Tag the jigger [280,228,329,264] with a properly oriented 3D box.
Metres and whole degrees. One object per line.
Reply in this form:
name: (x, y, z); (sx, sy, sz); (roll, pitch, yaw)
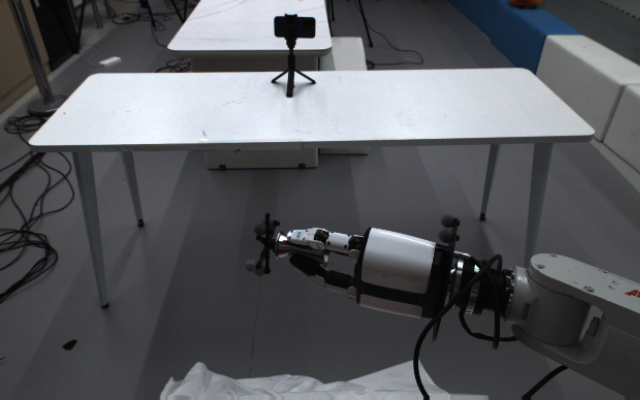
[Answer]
jigger: (-0.016, 0.061, 0.657); (0.071, 0.043, 0.043); (5, 35, 12)
